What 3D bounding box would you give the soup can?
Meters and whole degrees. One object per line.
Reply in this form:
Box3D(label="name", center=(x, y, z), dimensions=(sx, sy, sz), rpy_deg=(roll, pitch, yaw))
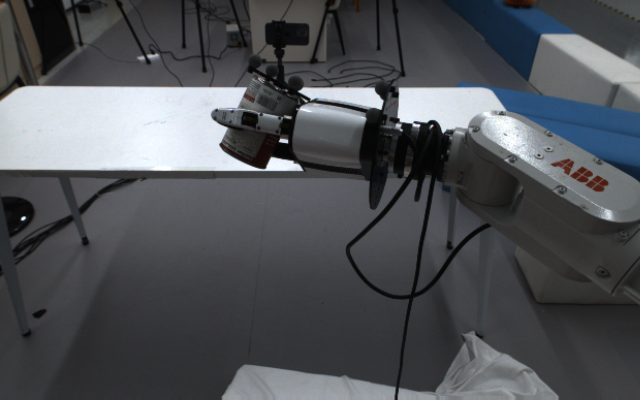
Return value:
Box3D(label="soup can", center=(-0.078, -0.100, 0.626), dimensions=(0.067, 0.101, 0.067), rpy_deg=(27, 10, -5))
